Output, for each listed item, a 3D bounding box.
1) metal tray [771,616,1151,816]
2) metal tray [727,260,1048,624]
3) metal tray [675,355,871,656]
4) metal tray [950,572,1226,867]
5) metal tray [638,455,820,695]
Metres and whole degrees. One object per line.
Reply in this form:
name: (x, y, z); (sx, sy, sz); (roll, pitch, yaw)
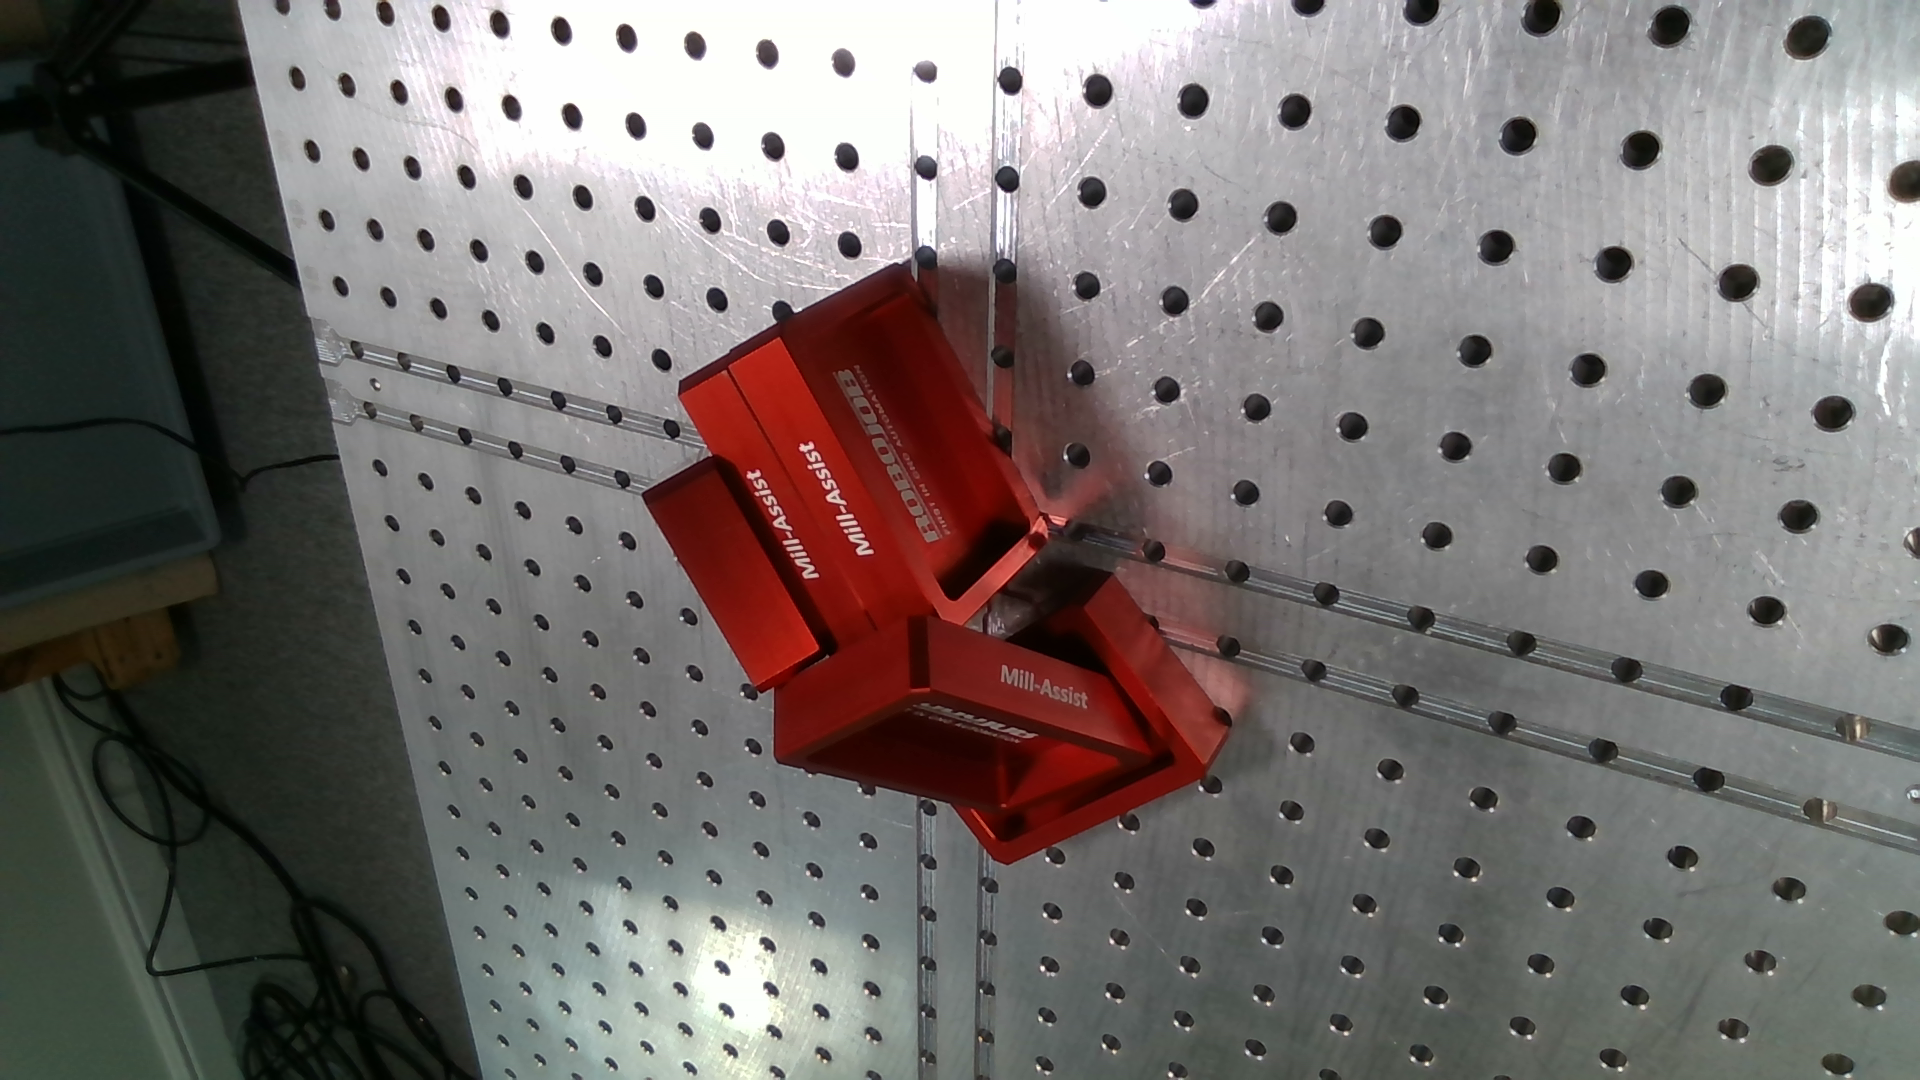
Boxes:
metal tray: (0.001, 0.075, 0.550); (0.130, 0.030, 0.090); (22, 143, -38)
metal tray: (-0.024, -0.035, 0.536); (0.030, 0.090, 0.130); (-21, 103, 38)
metal tray: (-0.047, -0.024, 0.554); (0.030, 0.090, 0.130); (-21, 103, 38)
metal tray: (0.038, 0.081, 0.599); (0.130, 0.030, 0.090); (-35, 94, 39)
metal tray: (-0.096, 0.007, 0.586); (0.030, 0.130, 0.090); (-29, 100, -3)
